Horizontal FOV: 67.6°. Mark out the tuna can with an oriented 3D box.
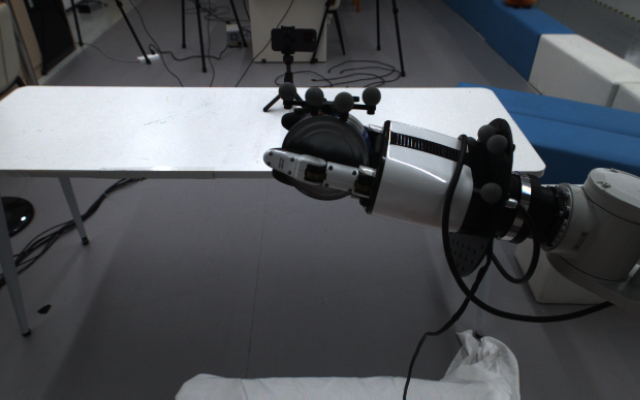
[{"bbox_3d":[0.009,-0.046,0.477,0.085,0.085,0.034,9,24,10],"label":"tuna can"}]
